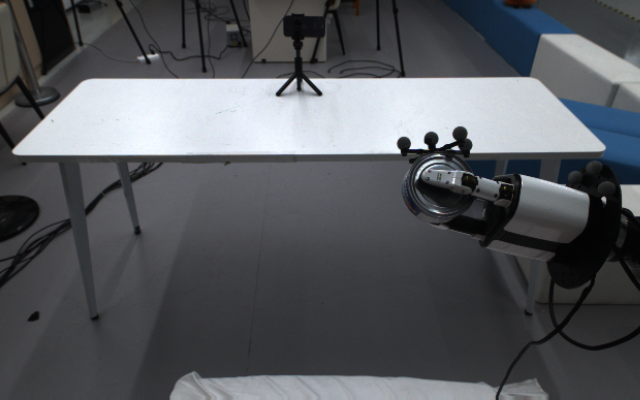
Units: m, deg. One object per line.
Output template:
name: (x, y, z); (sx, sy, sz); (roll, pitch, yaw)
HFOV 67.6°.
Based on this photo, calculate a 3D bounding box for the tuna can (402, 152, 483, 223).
tuna can: (0.148, -0.017, 0.603); (0.085, 0.034, 0.085); (1, 73, -4)
